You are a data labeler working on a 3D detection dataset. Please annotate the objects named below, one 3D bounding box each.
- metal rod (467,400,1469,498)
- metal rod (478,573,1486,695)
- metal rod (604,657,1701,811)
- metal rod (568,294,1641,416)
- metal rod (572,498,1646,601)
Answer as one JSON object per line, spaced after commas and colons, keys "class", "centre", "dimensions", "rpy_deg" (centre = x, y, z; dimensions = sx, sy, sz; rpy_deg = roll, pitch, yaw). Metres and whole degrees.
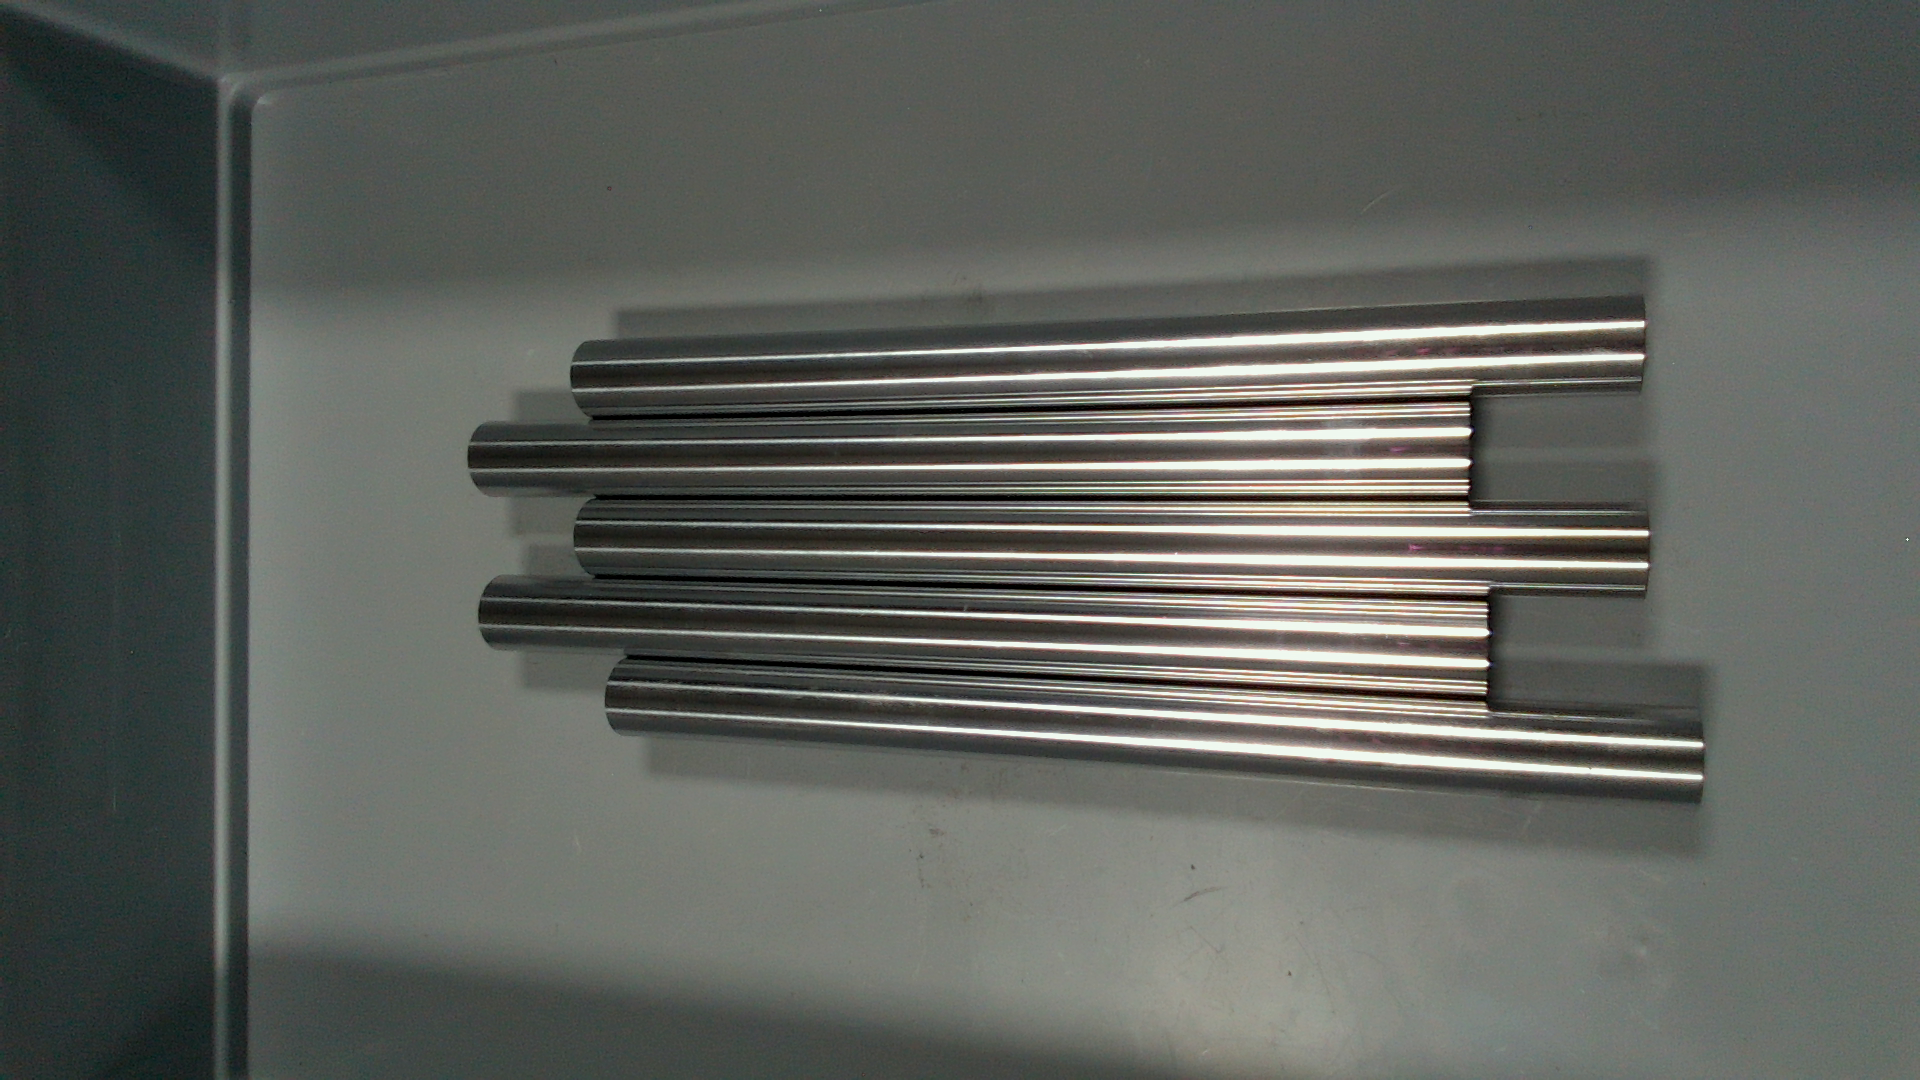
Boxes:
{"class": "metal rod", "centre": [-0.012, -0.025, 0.399], "dimensions": [0.299, 0.025, 0.025], "rpy_deg": [1, 90, 20]}
{"class": "metal rod", "centre": [-0.008, 0.025, 0.398], "dimensions": [0.299, 0.025, 0.025], "rpy_deg": [1, 90, 20]}
{"class": "metal rod", "centre": [0.036, 0.051, 0.382], "dimensions": [0.299, 0.025, 0.025], "rpy_deg": [1, 90, 20]}
{"class": "metal rod", "centre": [0.024, -0.049, 0.386], "dimensions": [0.299, 0.025, 0.025], "rpy_deg": [1, 90, 20]}
{"class": "metal rod", "centre": [0.025, 0.001, 0.386], "dimensions": [0.299, 0.025, 0.025], "rpy_deg": [1, 90, 20]}
